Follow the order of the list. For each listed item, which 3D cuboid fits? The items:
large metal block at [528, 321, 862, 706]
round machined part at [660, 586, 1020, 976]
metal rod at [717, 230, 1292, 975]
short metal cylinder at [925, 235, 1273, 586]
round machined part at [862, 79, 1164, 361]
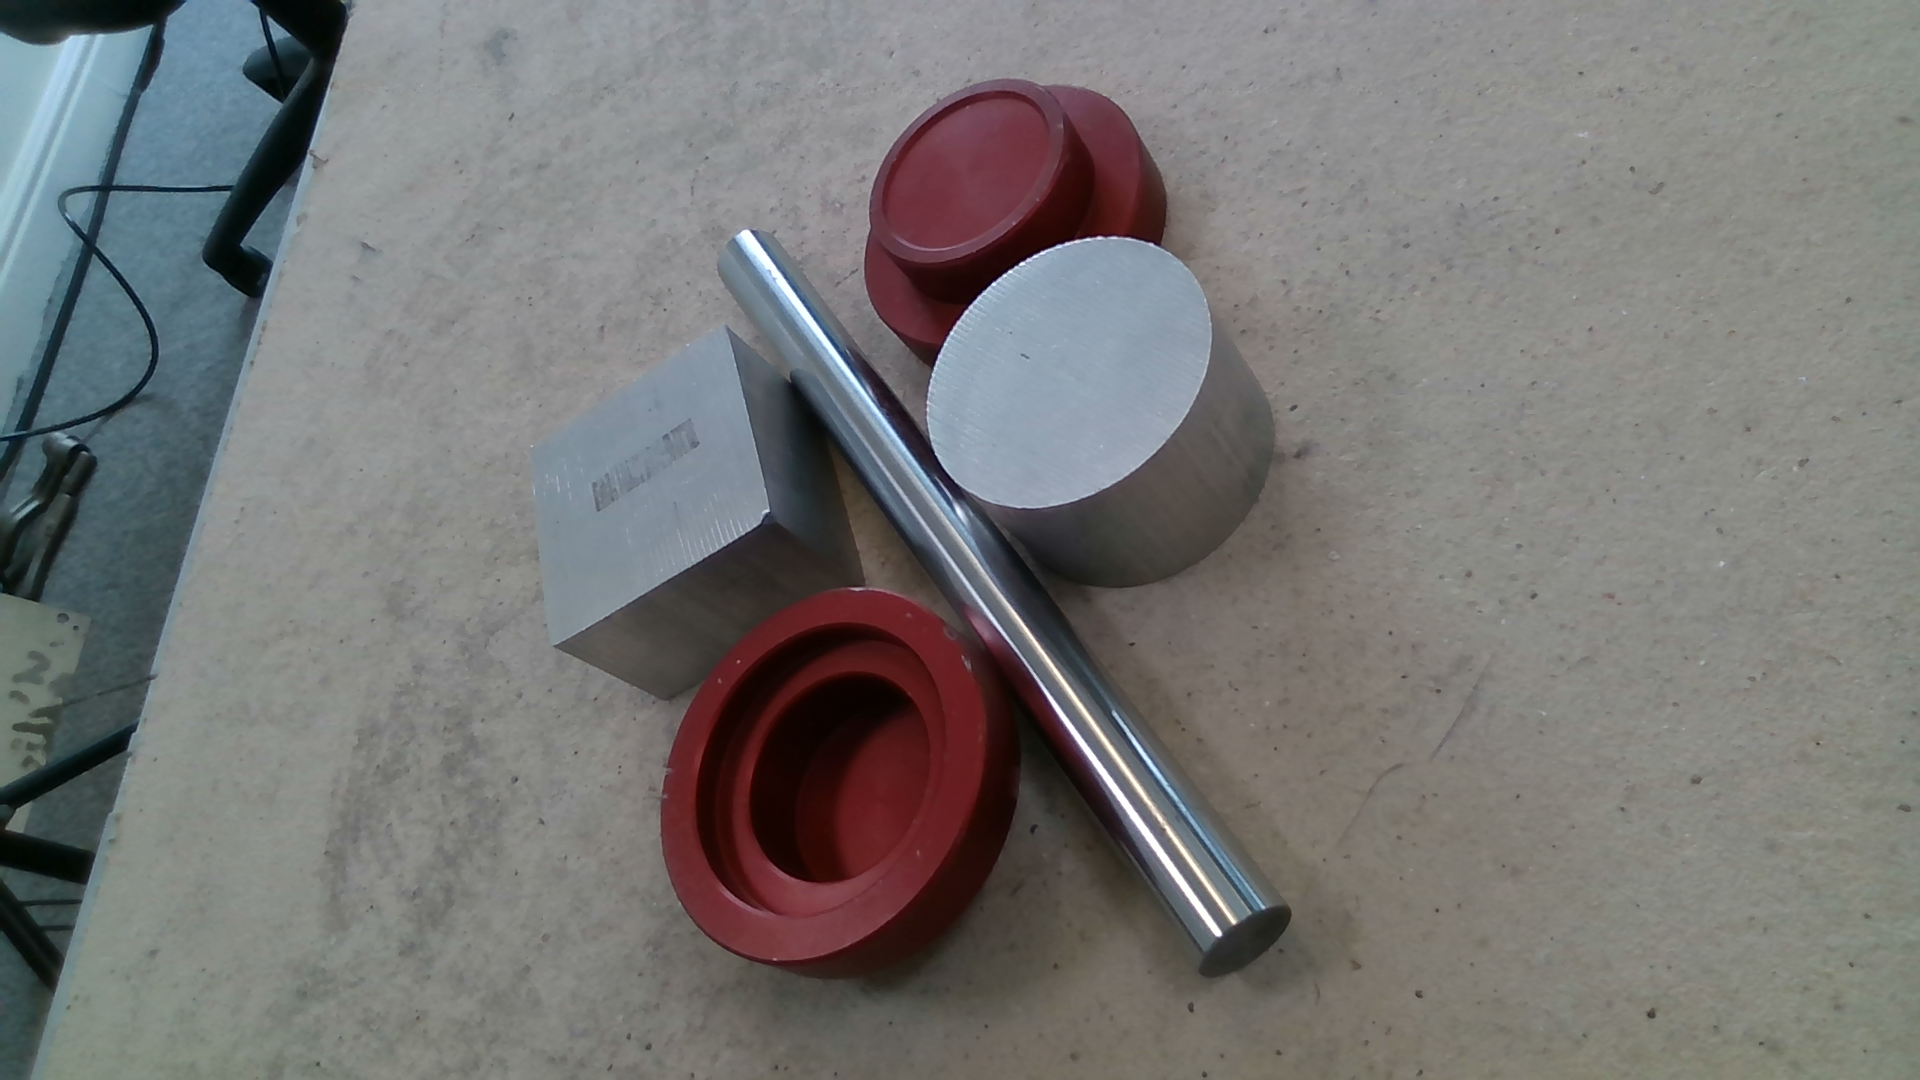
[{"bbox_3d":[-0.084,-0.007,0.434,0.080,0.050,0.080,-30,54,15],"label":"large metal block"},{"bbox_3d":[-0.028,0.065,0.364,0.098,0.042,0.098,-14,59,25],"label":"round machined part"},{"bbox_3d":[-0.006,-0.005,0.401,0.025,0.025,0.299,-41,51,6],"label":"metal rod"},{"bbox_3d":[0.038,-0.034,0.371,0.080,0.050,0.080,-14,59,25],"label":"short metal cylinder"},{"bbox_3d":[0.010,-0.103,0.430,0.098,0.042,0.098,-14,59,25],"label":"round machined part"}]
